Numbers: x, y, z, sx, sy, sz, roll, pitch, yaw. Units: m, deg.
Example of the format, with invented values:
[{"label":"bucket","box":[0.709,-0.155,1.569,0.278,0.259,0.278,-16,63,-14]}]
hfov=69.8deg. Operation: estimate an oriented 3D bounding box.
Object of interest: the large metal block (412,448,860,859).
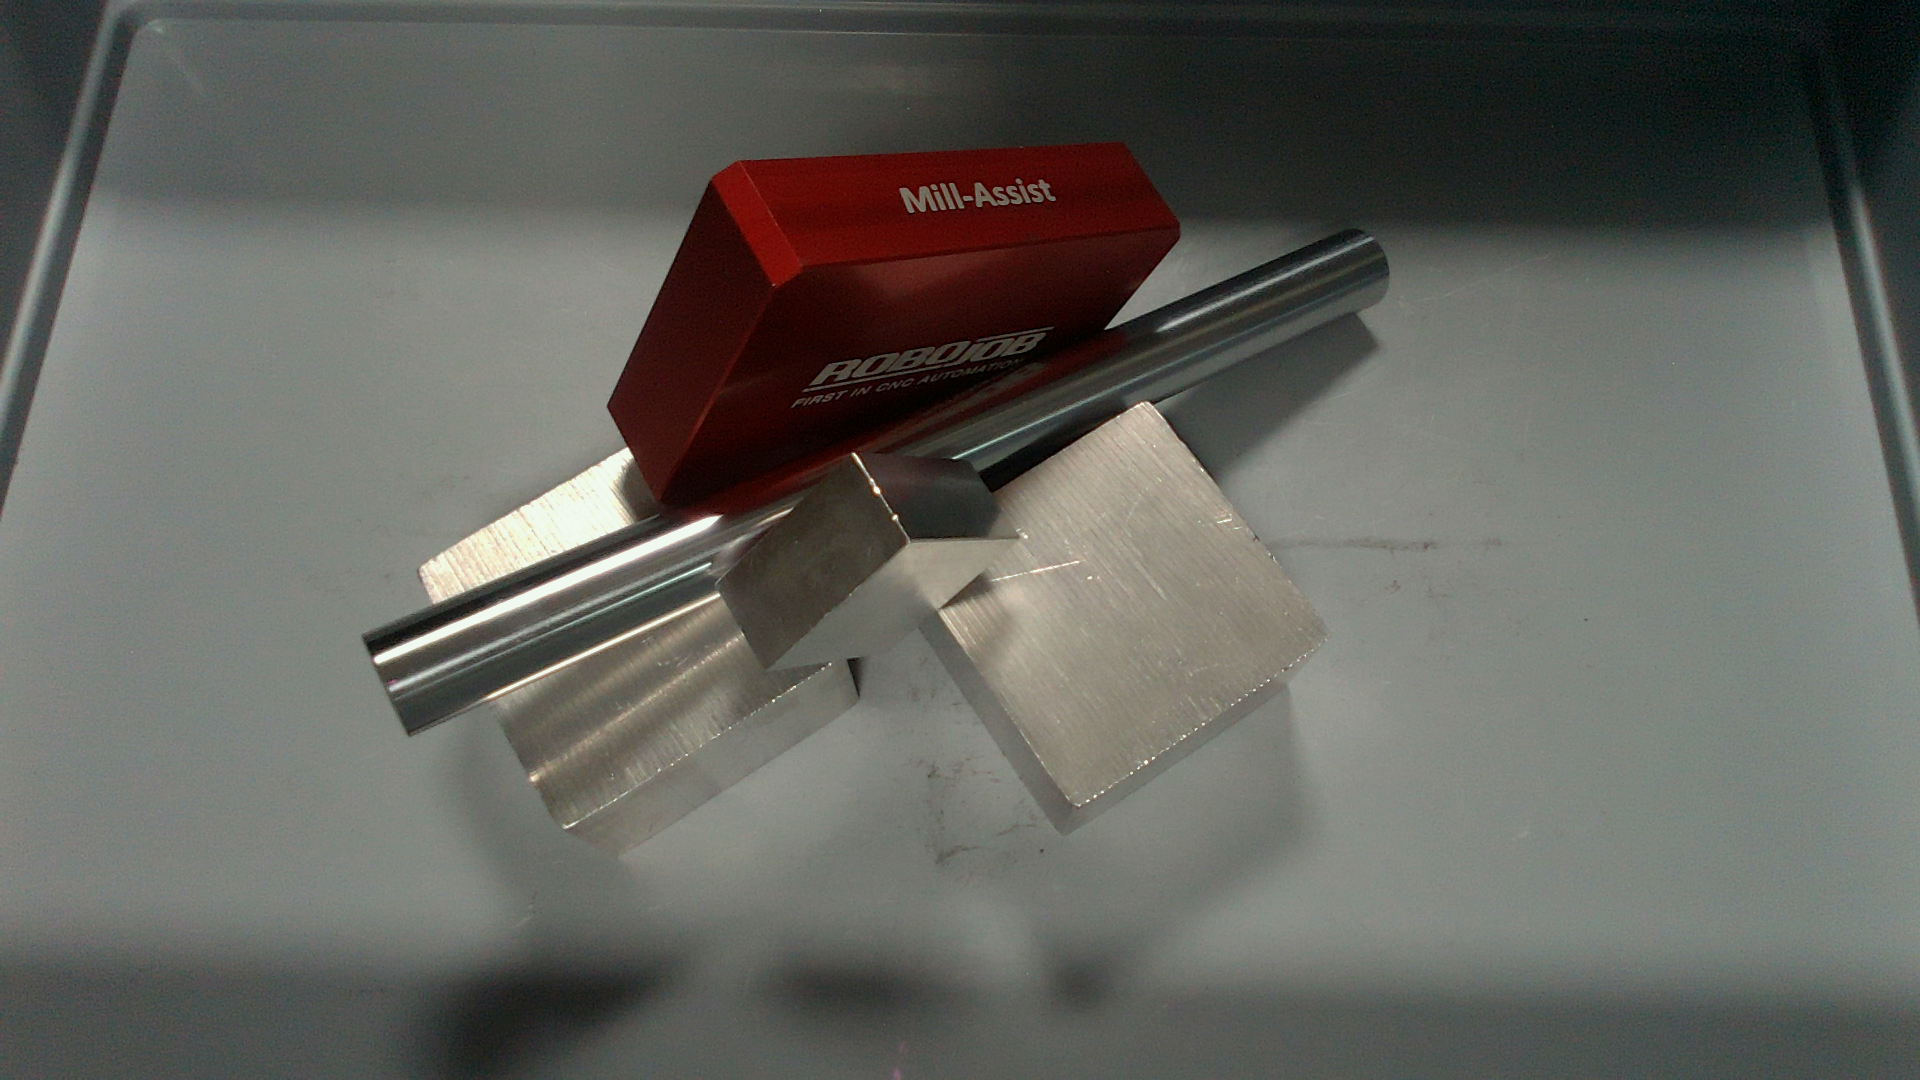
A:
[{"label":"large metal block","box":[-0.083,0.026,0.368,0.080,0.050,0.080,-32,73,-11]}]

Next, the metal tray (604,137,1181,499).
[{"label":"metal tray","box":[-0.015,-0.058,0.352,0.131,0.090,0.030,-16,68,-40]}]

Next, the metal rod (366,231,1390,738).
[{"label":"metal rod","box":[-0.001,-0.026,0.363,0.301,0.025,0.025,-25,71,-25]}]

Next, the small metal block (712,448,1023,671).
[{"label":"small metal block","box":[-0.021,0.005,0.327,0.050,0.050,0.025,-41,71,25]}]

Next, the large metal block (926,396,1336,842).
[{"label":"large metal block","box":[0.039,0.022,0.372,0.080,0.050,0.080,-32,73,-11]}]
